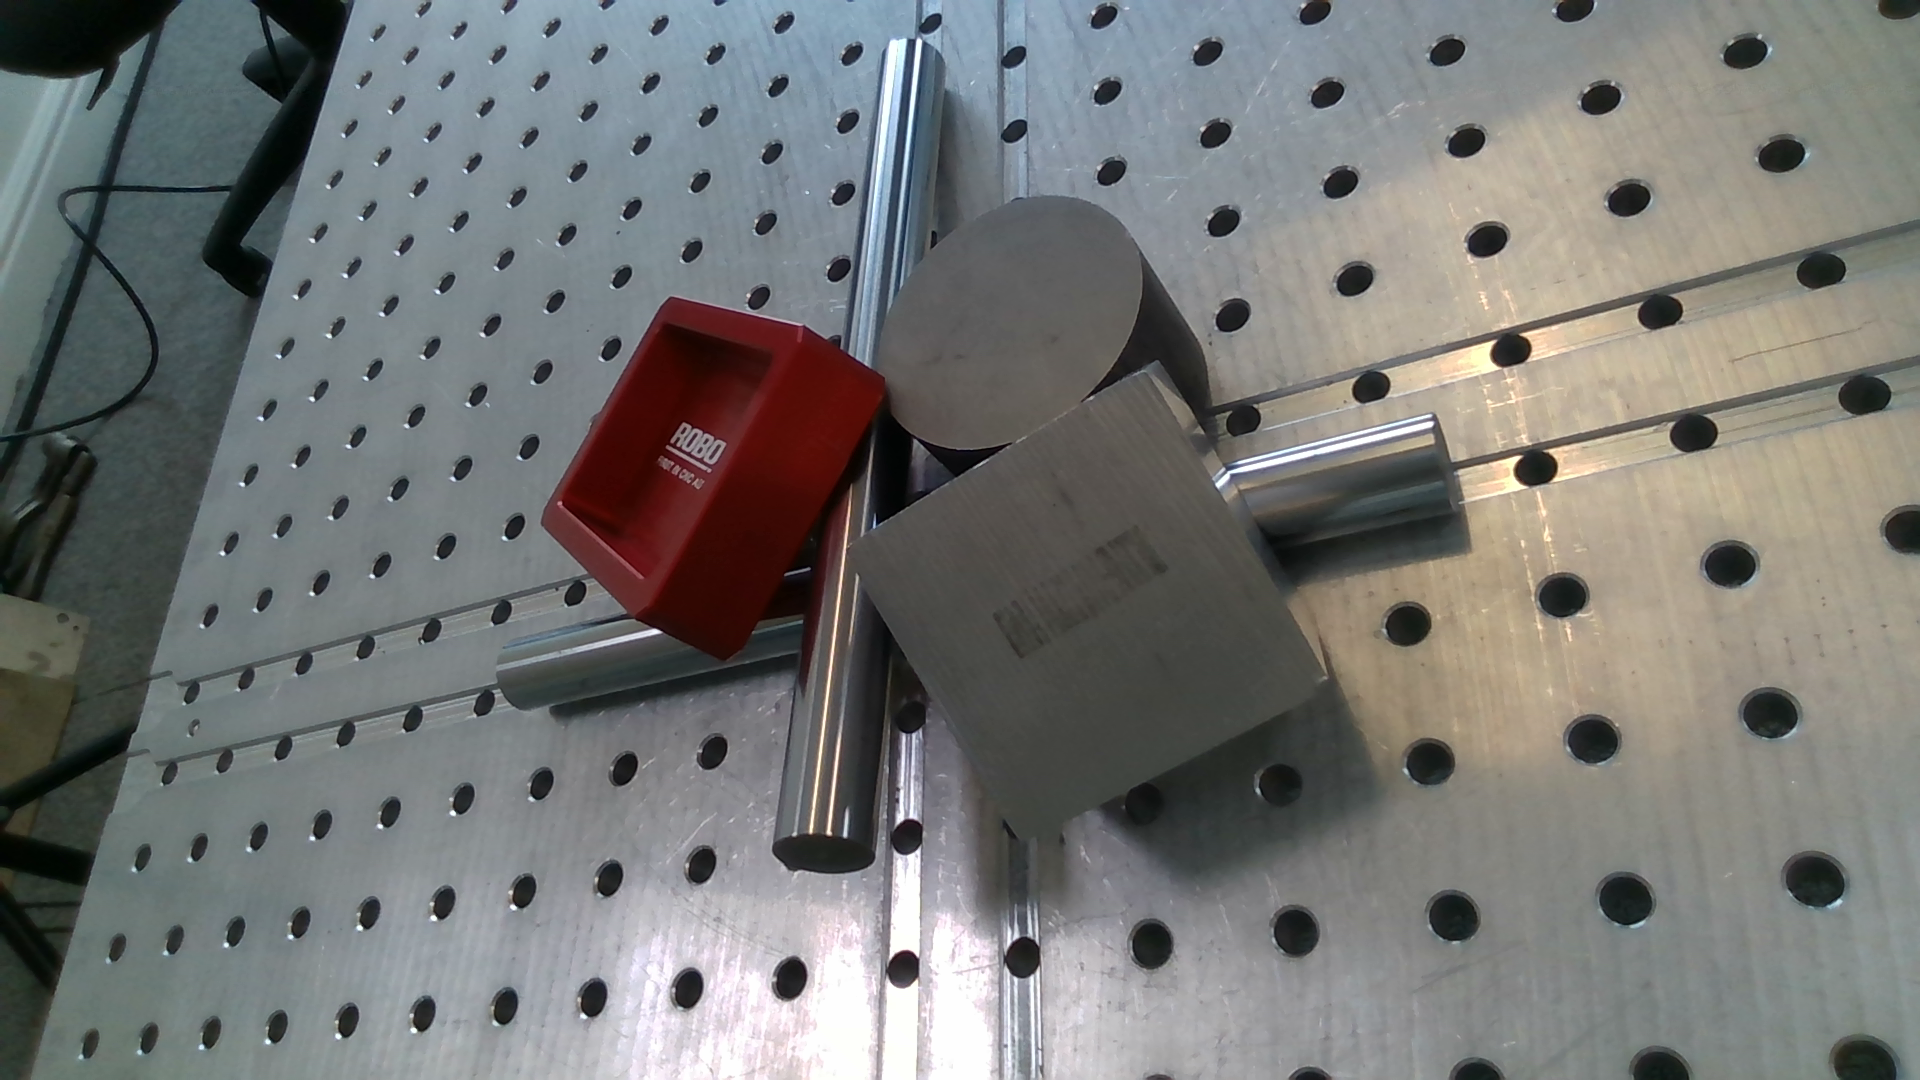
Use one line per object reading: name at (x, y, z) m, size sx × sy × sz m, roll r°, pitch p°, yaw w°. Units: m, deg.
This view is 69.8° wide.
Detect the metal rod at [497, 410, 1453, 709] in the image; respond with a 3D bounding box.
metal rod at (-0.015, 0.013, 0.398) m, size 0.300 × 0.025 × 0.025 m, roll -14°, pitch 59°, yaw 25°

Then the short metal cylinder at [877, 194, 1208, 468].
short metal cylinder at (0.024, -0.050, 0.391) m, size 0.080 × 0.050 × 0.080 m, roll -14°, pitch 59°, yaw 25°

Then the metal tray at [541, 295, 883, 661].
metal tray at (-0.081, -0.025, 0.423) m, size 0.090 × 0.030 × 0.130 m, roll -61°, pitch 31°, yaw -2°

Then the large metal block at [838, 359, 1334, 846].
large metal block at (0.031, 0.013, 0.328) m, size 0.080 × 0.050 × 0.080 m, roll -30°, pitch 93°, yaw 15°

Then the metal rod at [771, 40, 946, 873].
metal rod at (-0.025, -0.048, 0.415) m, size 0.025 × 0.025 × 0.299 m, roll -15°, pitch 52°, yaw 25°
